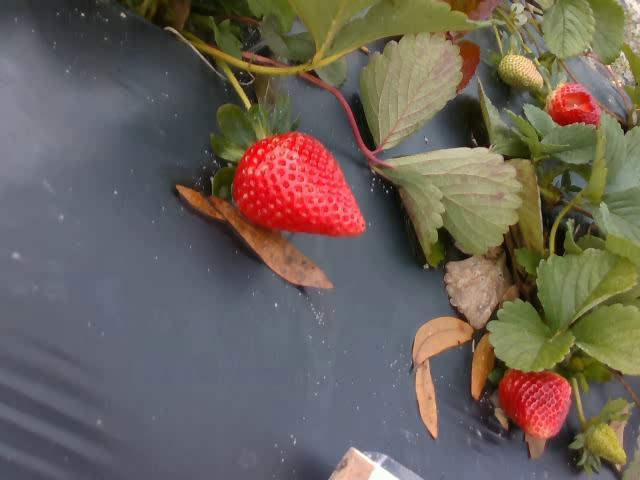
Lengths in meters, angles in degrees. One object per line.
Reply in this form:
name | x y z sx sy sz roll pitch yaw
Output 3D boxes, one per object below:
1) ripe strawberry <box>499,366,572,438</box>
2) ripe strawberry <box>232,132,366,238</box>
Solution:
ripe strawberry | 0.105 0.082 0.283 0.037 0.041 0.042 -32 17 25
ripe strawberry | -0.005 -0.016 0.237 0.065 0.047 0.043 34 -13 34
